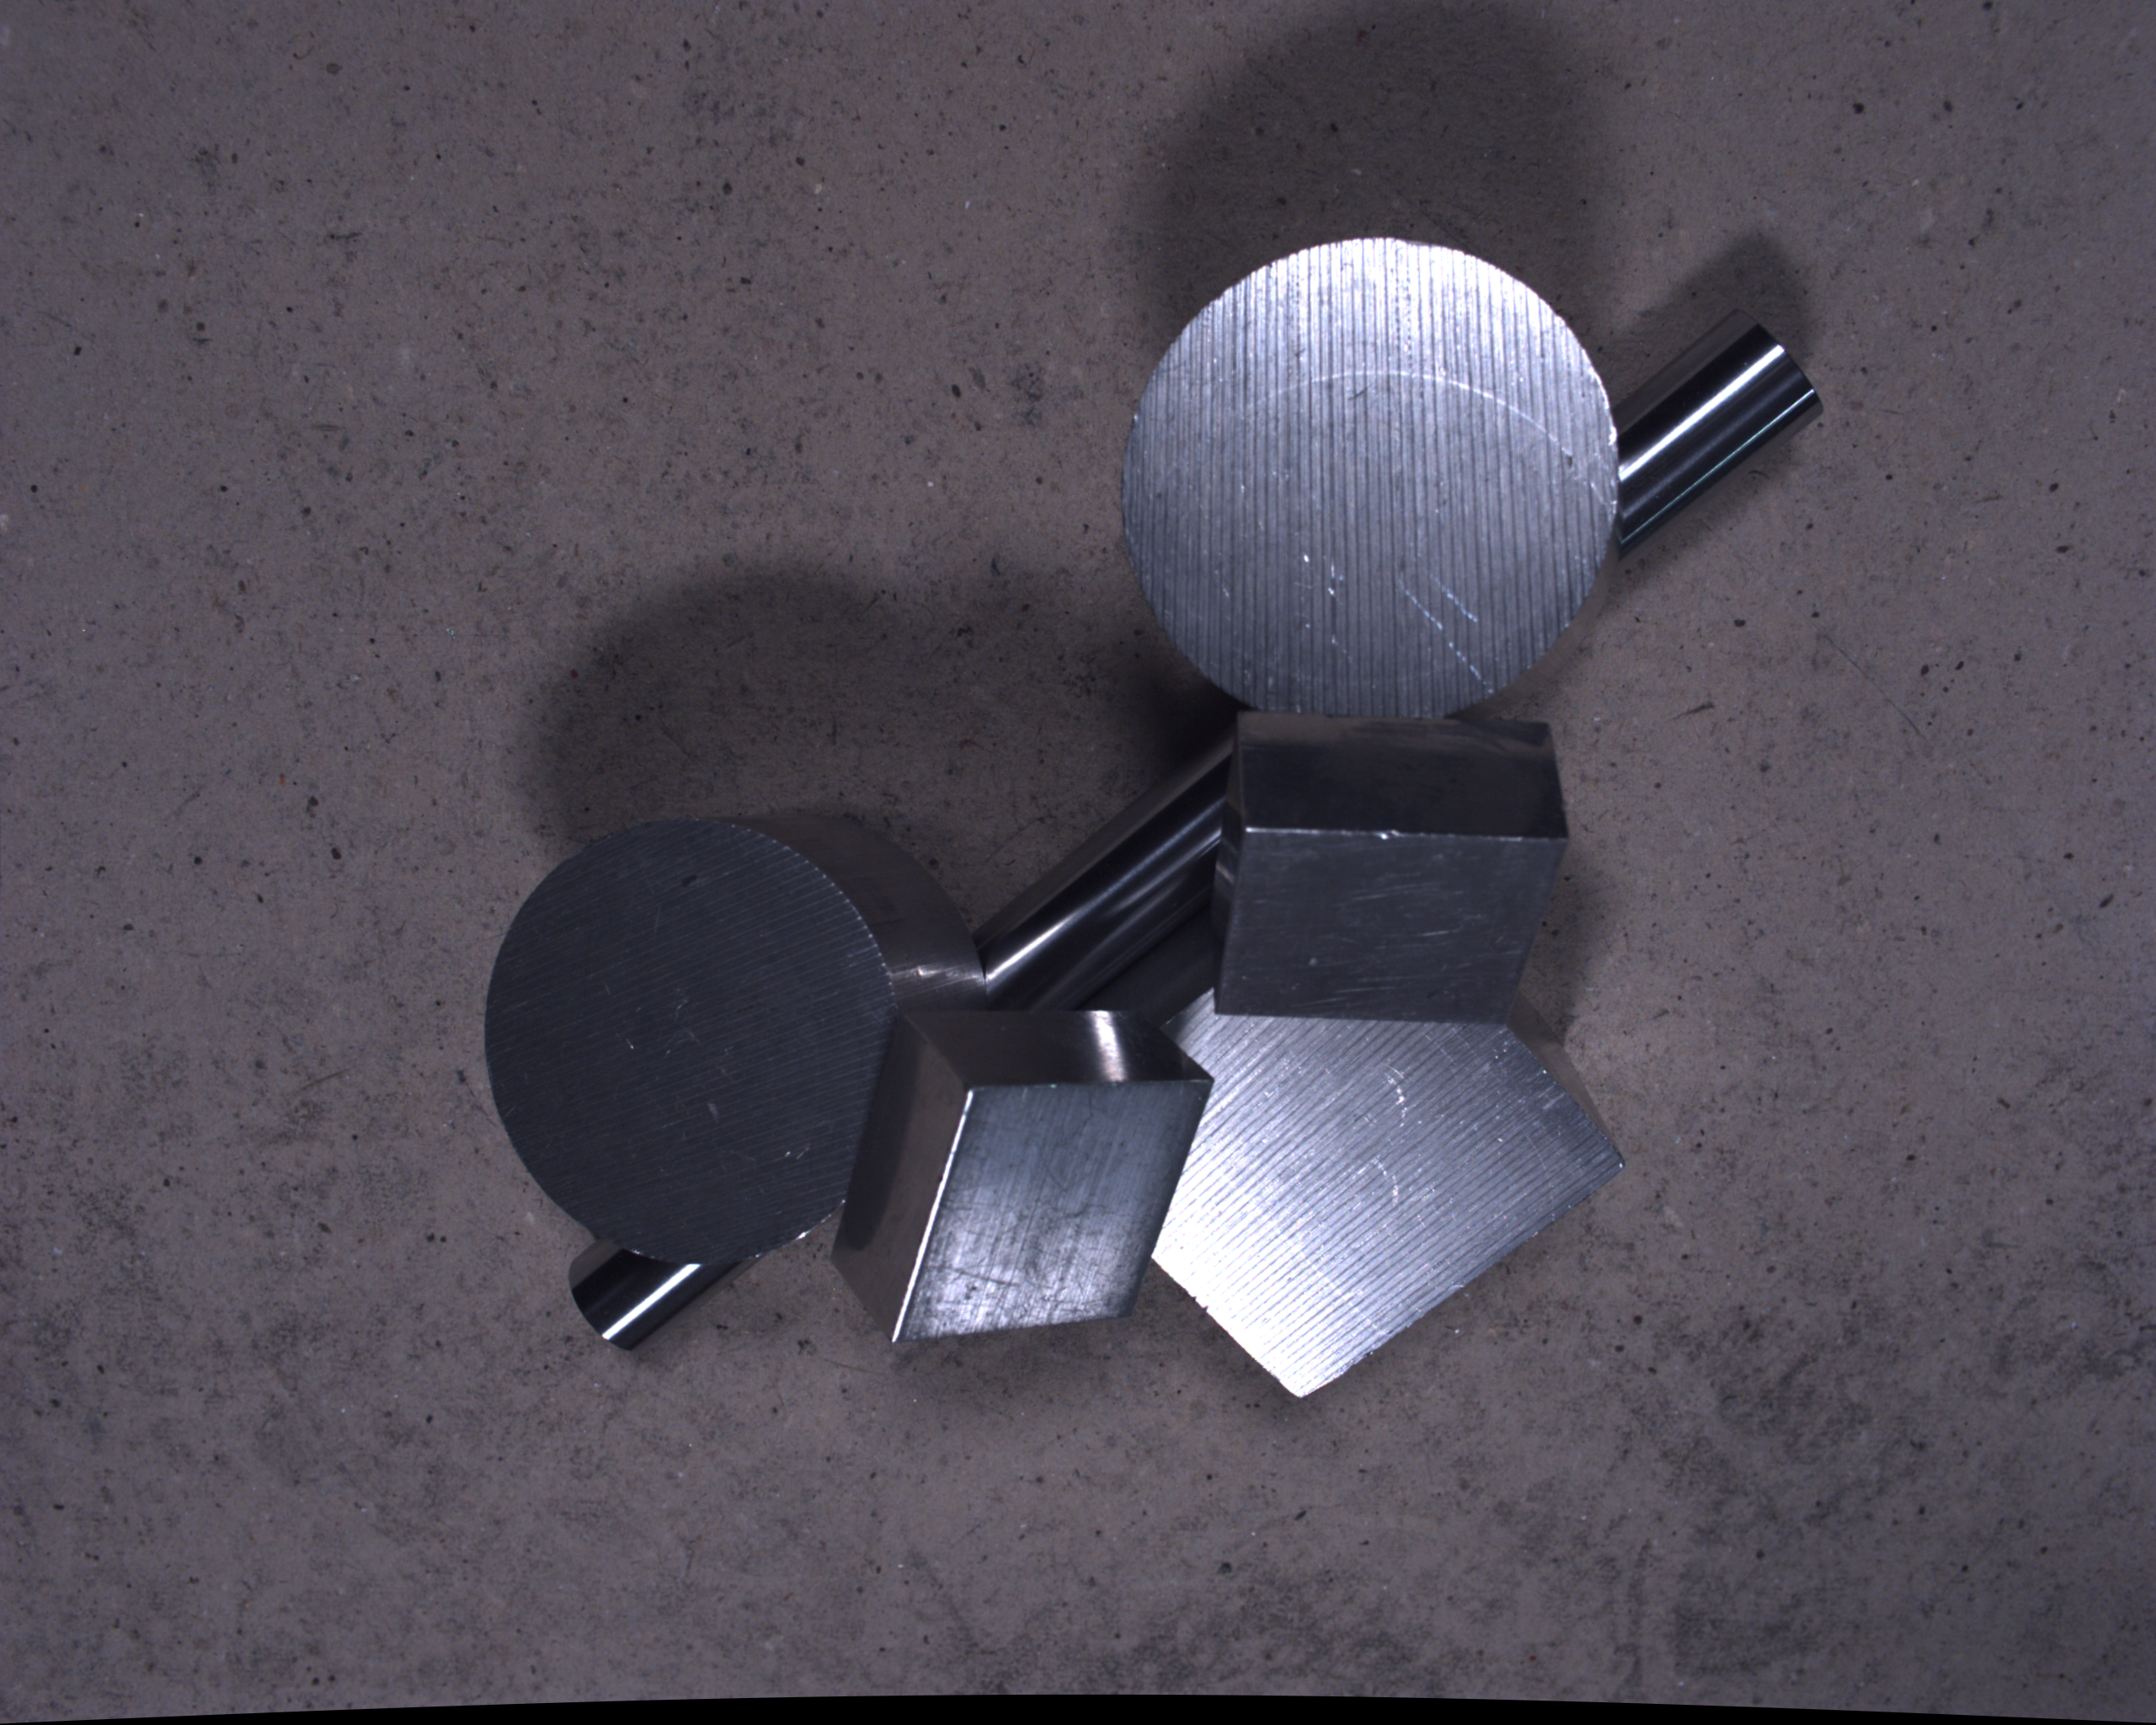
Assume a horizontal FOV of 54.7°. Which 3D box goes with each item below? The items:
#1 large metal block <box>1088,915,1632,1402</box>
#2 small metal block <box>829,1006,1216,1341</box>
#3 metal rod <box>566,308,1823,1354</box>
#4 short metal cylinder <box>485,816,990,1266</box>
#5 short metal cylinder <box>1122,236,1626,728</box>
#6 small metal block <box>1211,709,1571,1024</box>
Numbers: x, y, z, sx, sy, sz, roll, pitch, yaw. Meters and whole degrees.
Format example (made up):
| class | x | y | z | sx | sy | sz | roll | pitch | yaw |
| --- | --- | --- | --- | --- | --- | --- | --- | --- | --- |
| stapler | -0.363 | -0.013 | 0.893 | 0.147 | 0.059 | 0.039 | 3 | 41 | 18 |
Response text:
| class | x | y | z | sx | sy | sz | roll | pitch | yaw |
| --- | --- | --- | --- | --- | --- | --- | --- | --- | --- |
| large metal block | 0.047 | 0.045 | 0.413 | 0.080 | 0.050 | 0.080 | -40 | 106 | 13 |
| small metal block | -0.010 | 0.053 | 0.364 | 0.050 | 0.025 | 0.050 | 3 | 114 | -36 |
| metal rod | 0.014 | 0.002 | 0.411 | 0.300 | 0.025 | 0.025 | -39 | 106 | 13 |
| short metal cylinder | -0.062 | 0.031 | 0.393 | 0.080 | 0.050 | 0.079 | 0 | 92 | 15 |
| short metal cylinder | 0.053 | -0.062 | 0.360 | 0.080 | 0.050 | 0.079 | 0 | 92 | 15 |
| small metal block | 0.050 | 0.002 | 0.346 | 0.050 | 0.025 | 0.050 | 2 | 141 | -1 |
